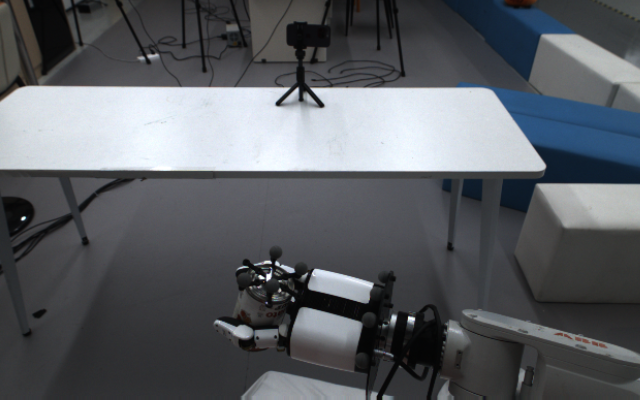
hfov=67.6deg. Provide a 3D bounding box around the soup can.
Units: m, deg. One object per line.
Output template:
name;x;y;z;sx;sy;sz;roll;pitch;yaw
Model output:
soup can;-0.077;0.142;0.637;0.067;0.101;0.067;14;35;-10
